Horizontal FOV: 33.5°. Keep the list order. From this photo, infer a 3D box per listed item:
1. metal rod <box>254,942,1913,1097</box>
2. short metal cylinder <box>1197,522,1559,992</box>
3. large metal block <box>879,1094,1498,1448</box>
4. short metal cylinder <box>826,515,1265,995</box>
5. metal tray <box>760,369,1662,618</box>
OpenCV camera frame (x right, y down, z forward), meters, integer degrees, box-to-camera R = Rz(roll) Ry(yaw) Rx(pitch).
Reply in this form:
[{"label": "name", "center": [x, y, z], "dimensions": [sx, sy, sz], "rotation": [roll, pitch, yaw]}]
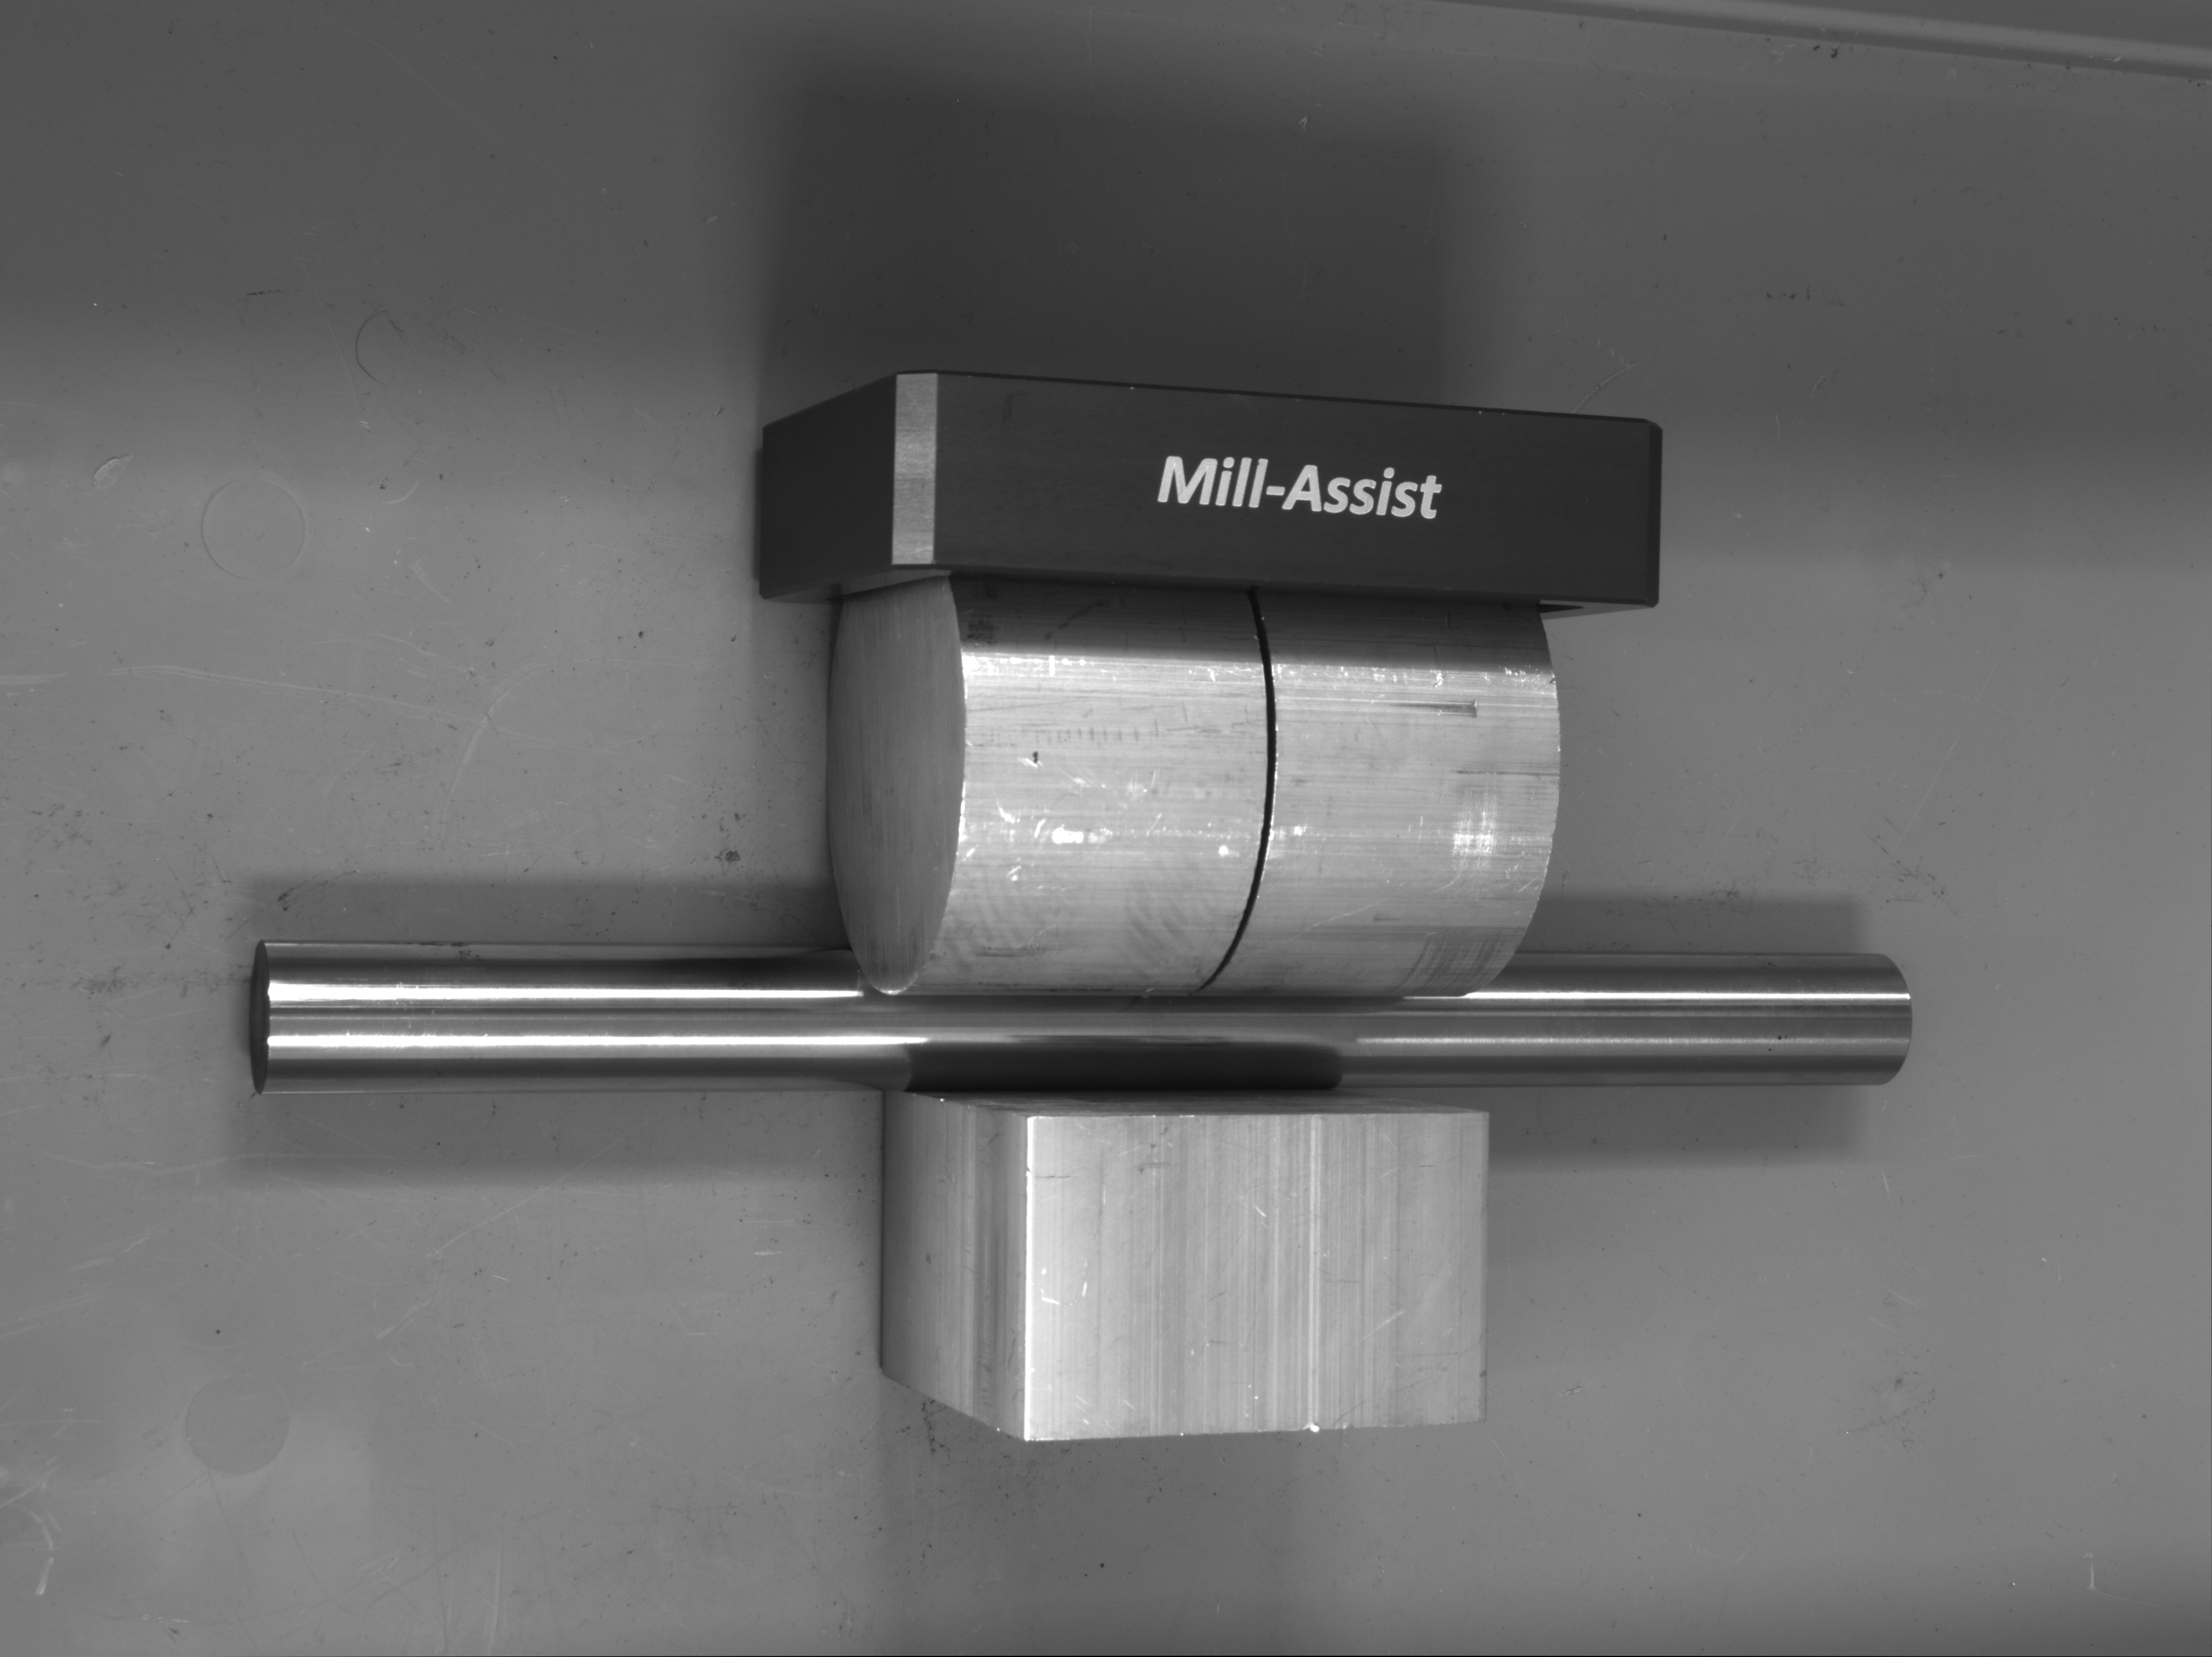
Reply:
[{"label": "metal rod", "center": [0.005, 0.034, 0.643], "dimensions": [0.301, 0.025, 0.025], "rotation": [1, 90, -20]}, {"label": "short metal cylinder", "center": [0.037, -0.012, 0.627], "dimensions": [0.050, 0.080, 0.080], "rotation": [2, 89, -20]}, {"label": "large metal block", "center": [0.012, 0.071, 0.617], "dimensions": [0.080, 0.080, 0.050], "rotation": [1, 90, -20]}, {"label": "short metal cylinder", "center": [-0.012, -0.012, 0.610], "dimensions": [0.050, 0.080, 0.080], "rotation": [1, 90, -20]}, {"label": "metal tray", "center": [0.016, -0.053, 0.613], "dimensions": [0.130, 0.090, 0.030], "rotation": [1, 89, -20]}]
